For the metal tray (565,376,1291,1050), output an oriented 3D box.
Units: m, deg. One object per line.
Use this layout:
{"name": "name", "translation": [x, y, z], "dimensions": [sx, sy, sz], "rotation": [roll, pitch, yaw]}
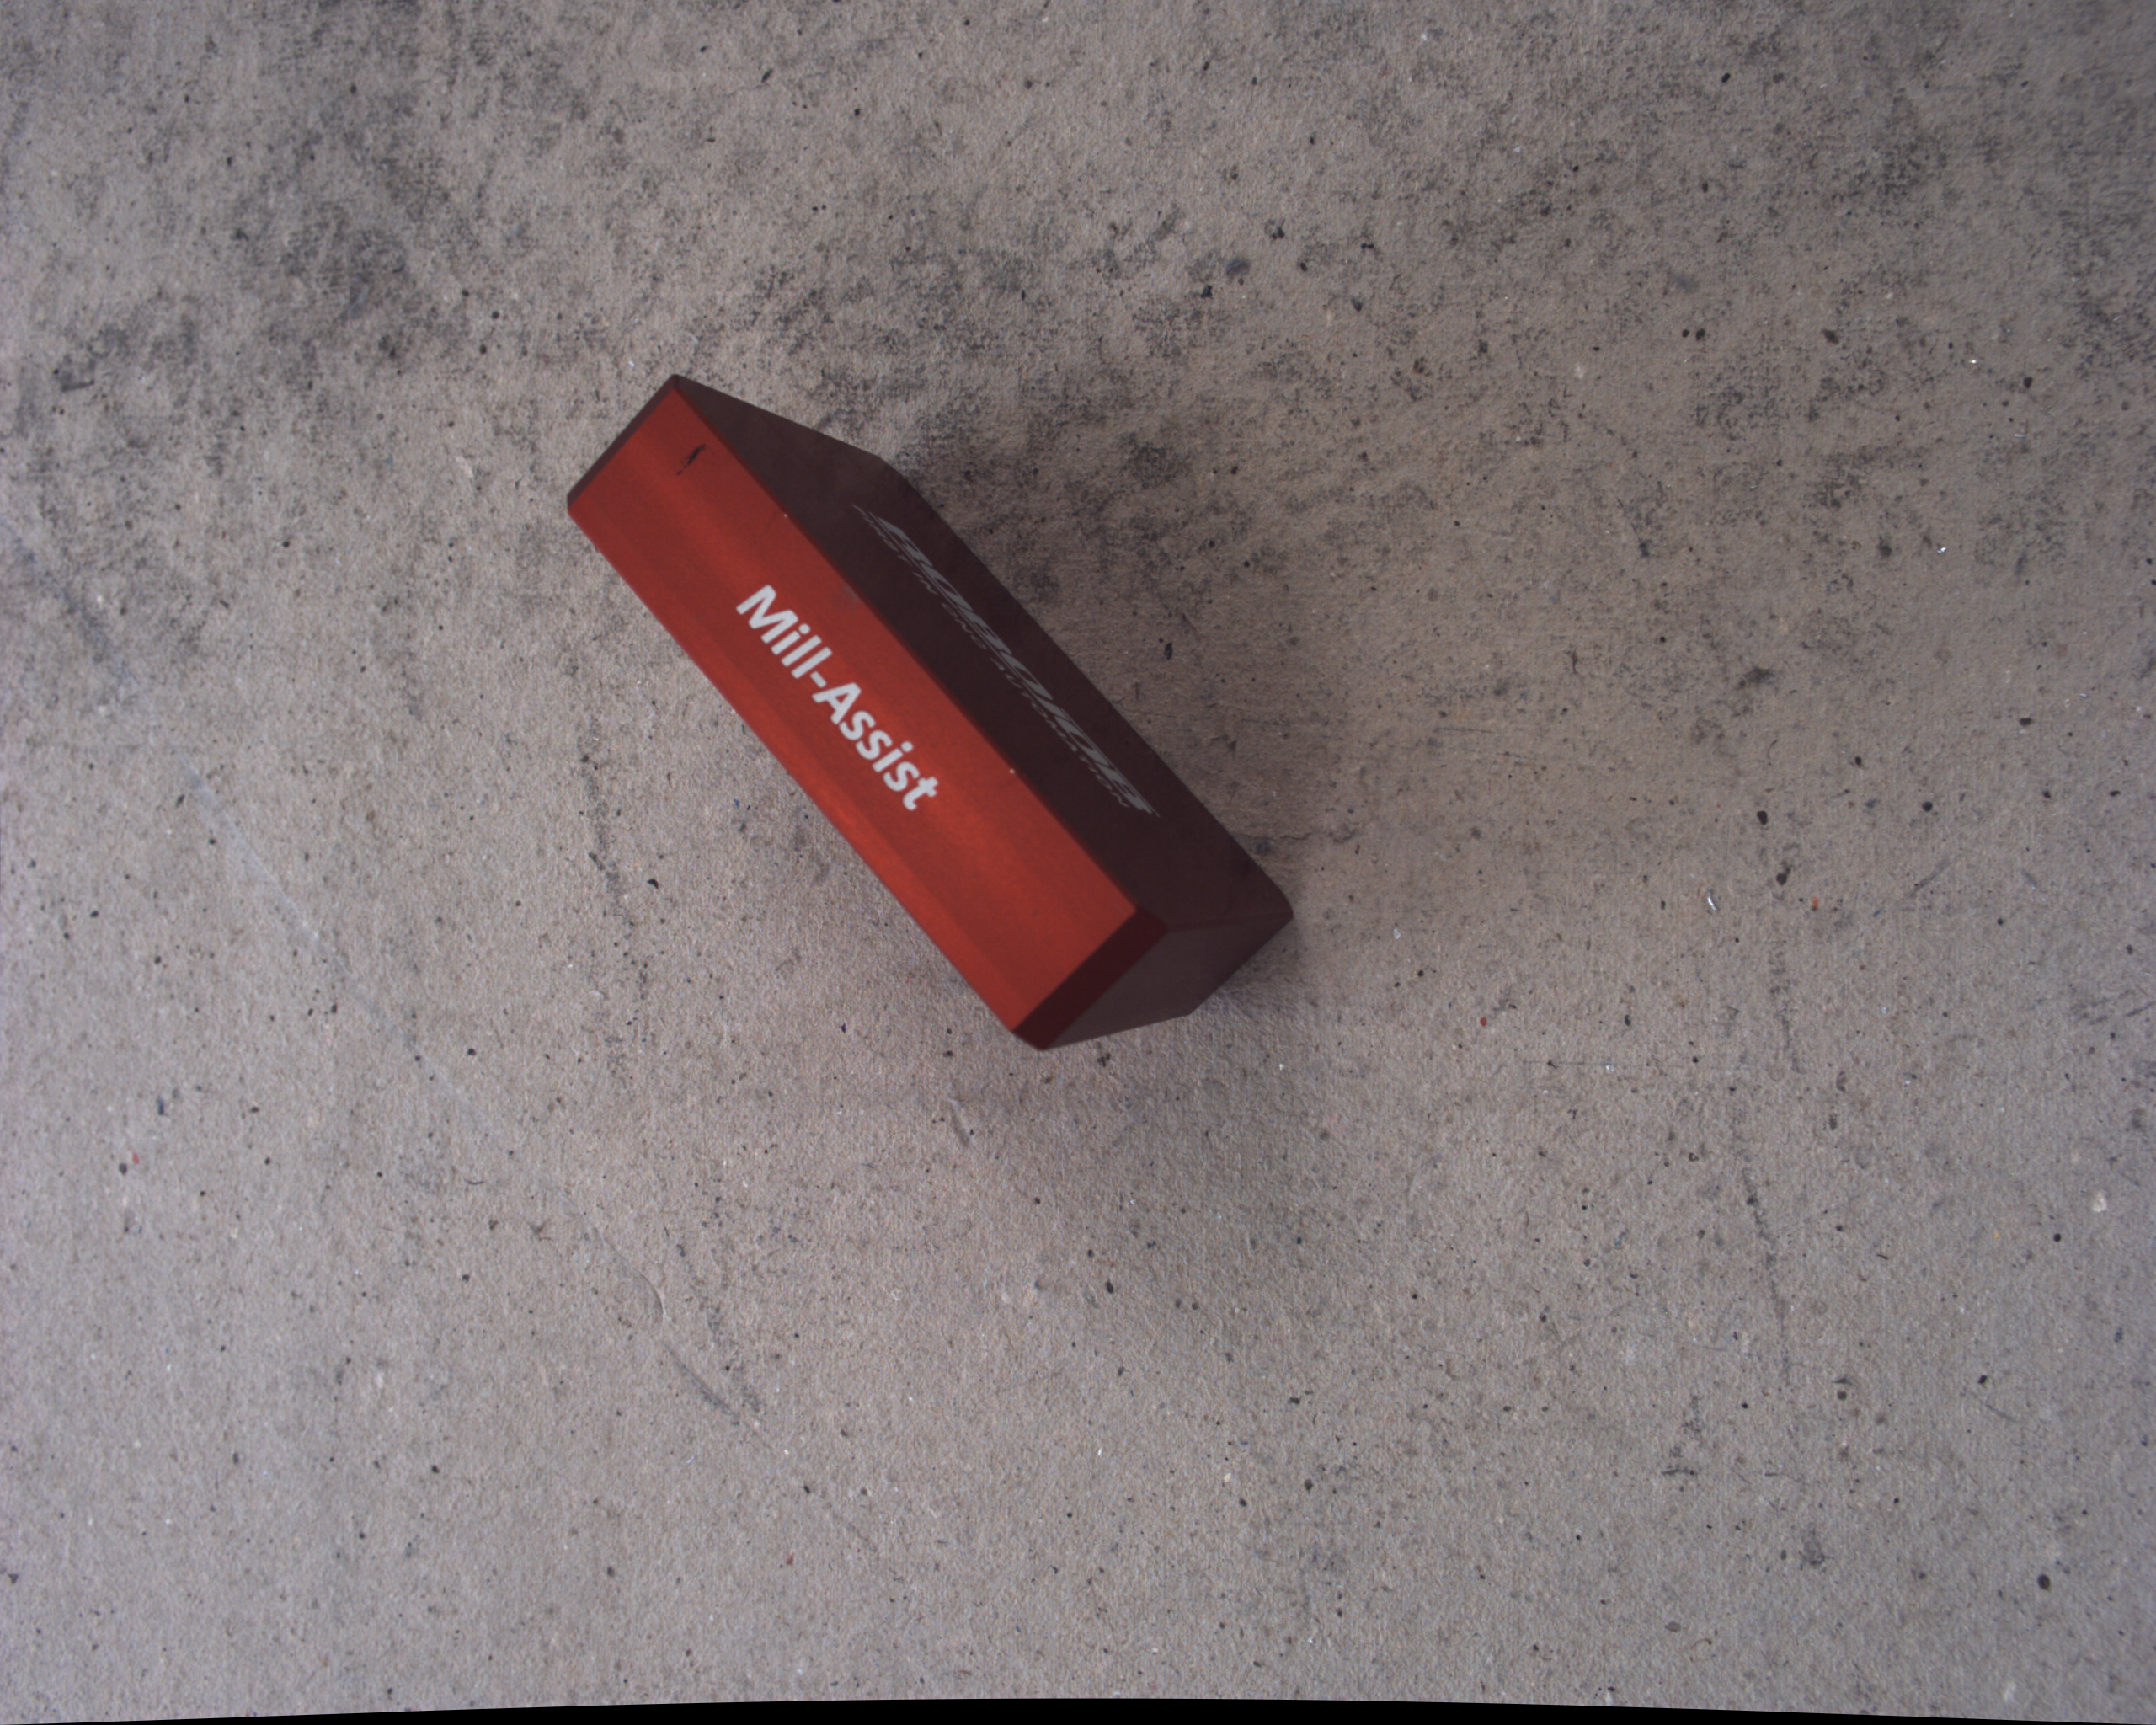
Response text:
{"name": "metal tray", "translation": [-0.024, -0.027, 0.384], "dimensions": [0.030, 0.090, 0.130], "rotation": [-45, 77, 15]}
